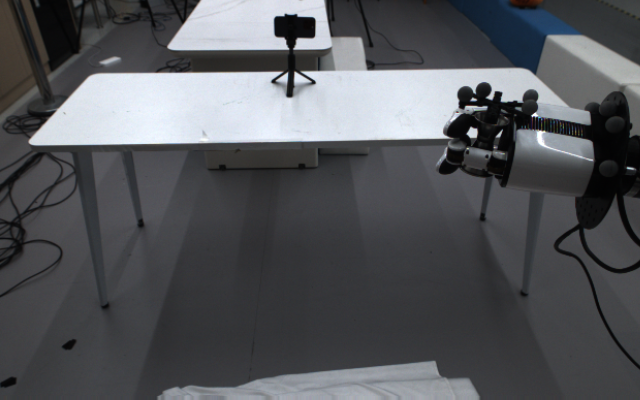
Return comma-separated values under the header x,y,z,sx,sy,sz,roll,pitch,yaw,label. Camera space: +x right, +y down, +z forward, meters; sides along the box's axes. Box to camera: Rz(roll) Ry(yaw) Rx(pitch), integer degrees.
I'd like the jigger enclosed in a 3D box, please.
x,y,z,sx,sy,sz,roll,pitch,yaw,label
0.202,-0.068,0.591,0.043,0.071,0.043,4,31,-2,jigger
